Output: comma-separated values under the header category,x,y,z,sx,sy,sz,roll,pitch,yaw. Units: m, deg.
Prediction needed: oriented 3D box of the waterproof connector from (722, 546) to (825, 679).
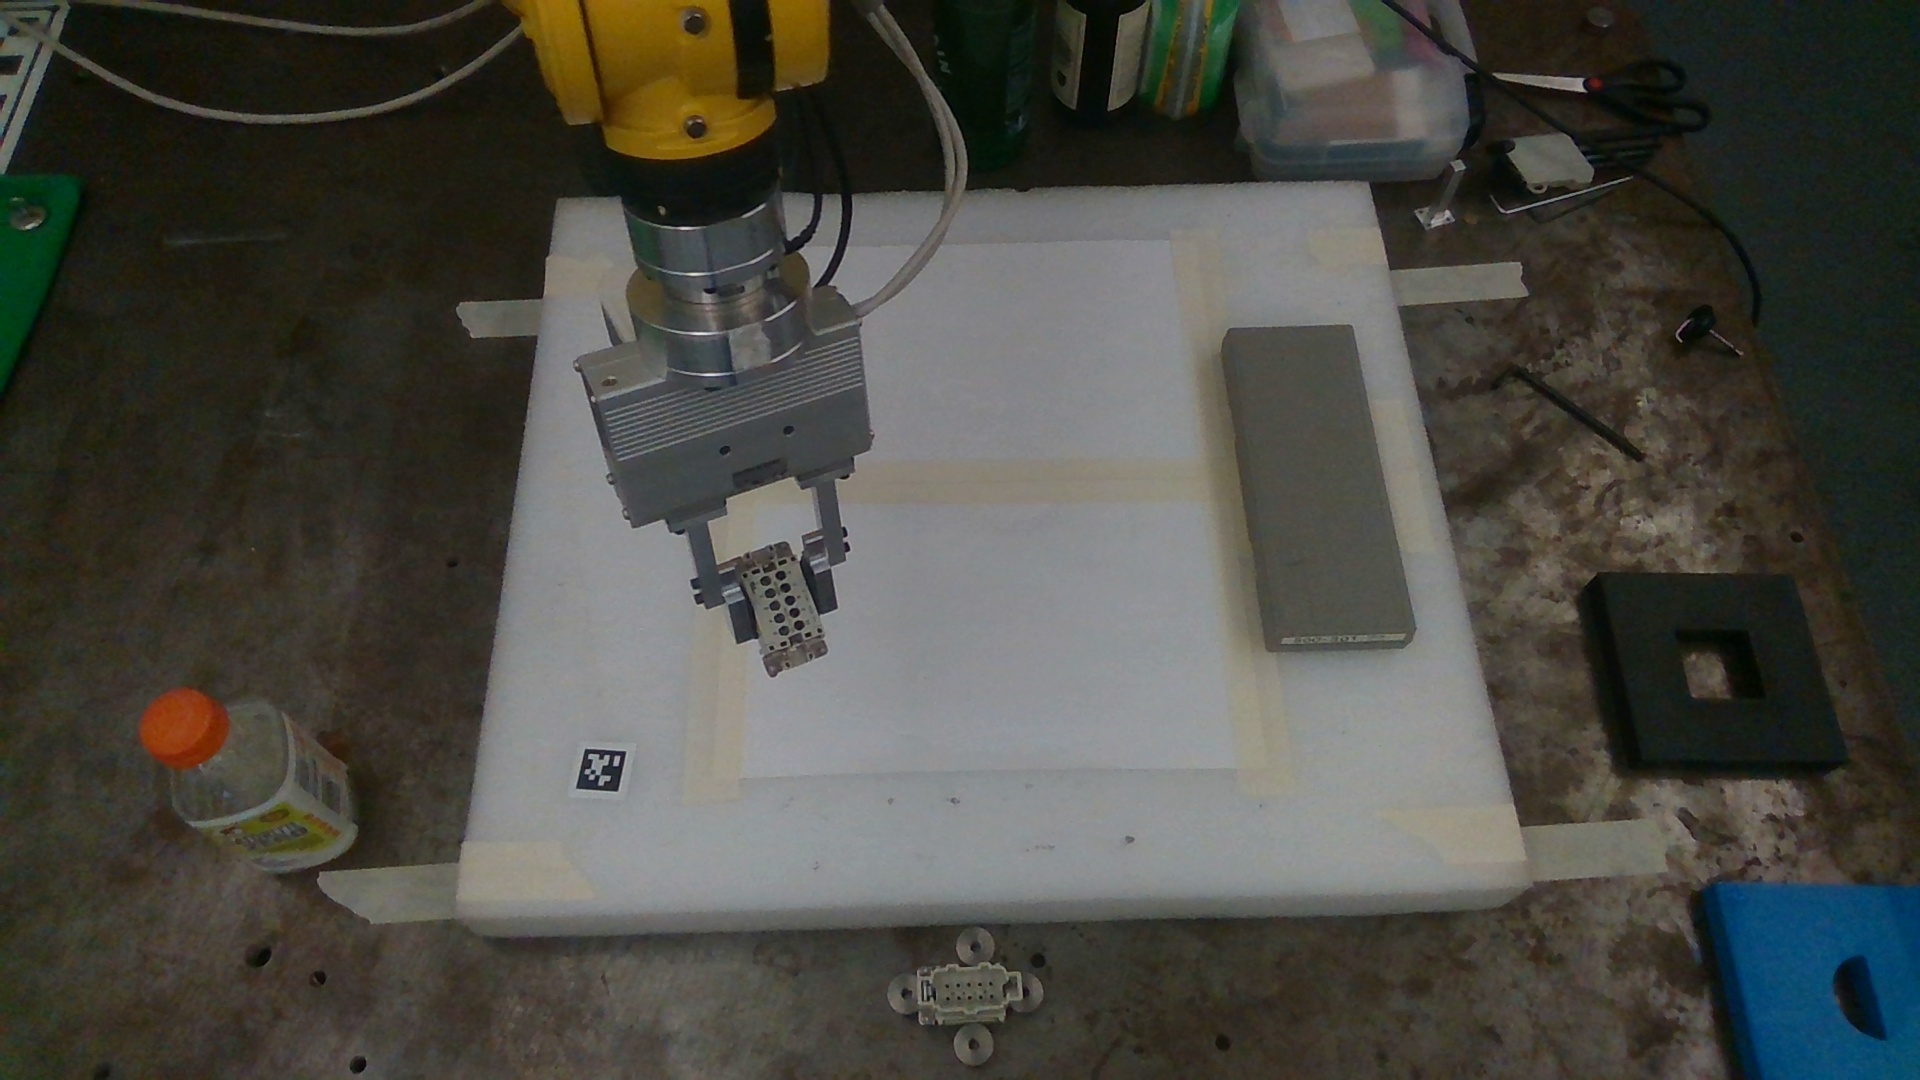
category,x,y,z,sx,sy,sz,roll,pitch,yaw
waterproof connector,-0.099,0.037,0.741,0.036,0.039,0.069,-19,75,-22
